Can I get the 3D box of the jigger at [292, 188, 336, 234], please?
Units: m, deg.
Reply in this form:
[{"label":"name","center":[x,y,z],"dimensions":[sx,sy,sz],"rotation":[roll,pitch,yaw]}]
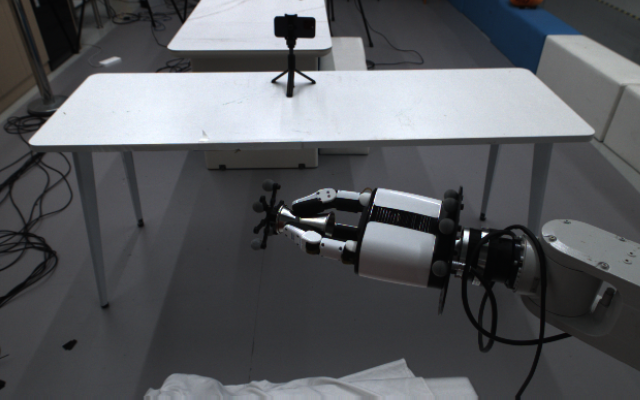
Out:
[{"label":"jigger","center":[-0.013,0.029,0.633],"dimensions":[0.071,0.043,0.043],"rotation":[11,36,15]}]
